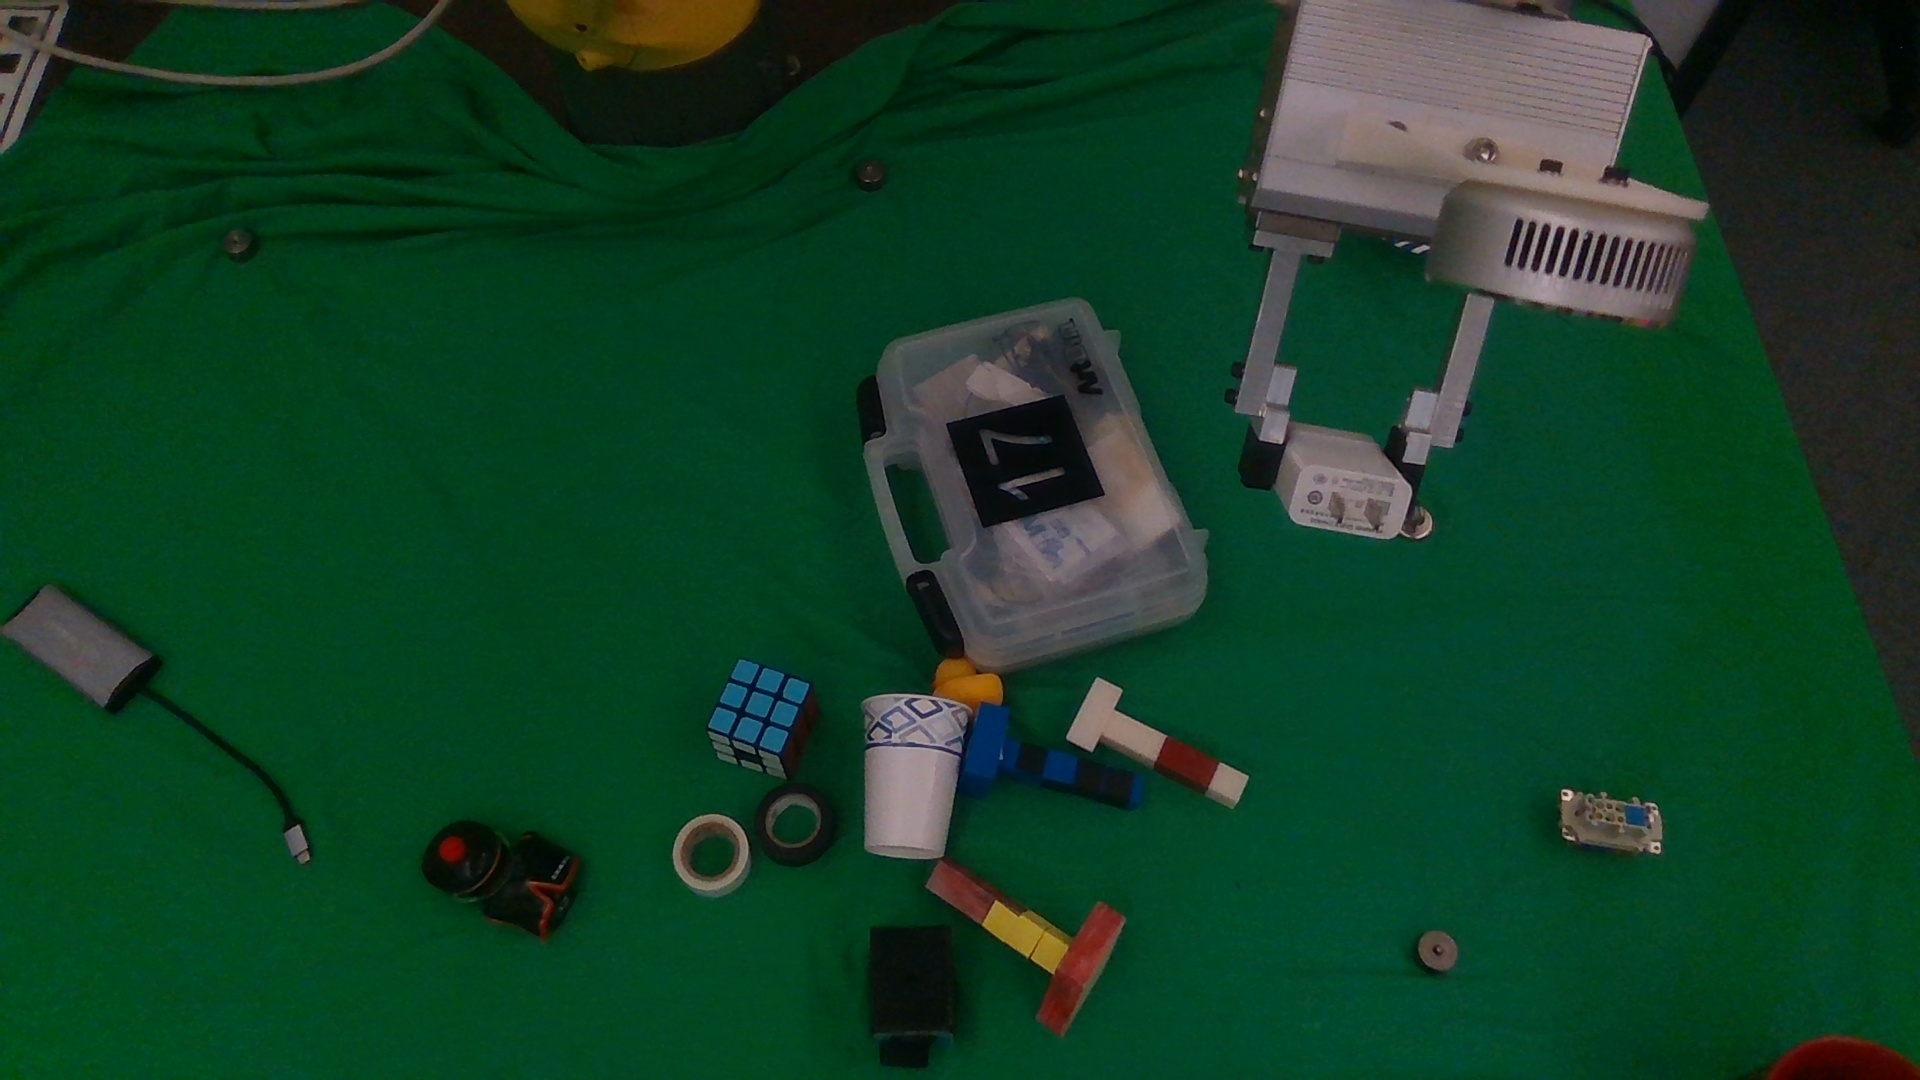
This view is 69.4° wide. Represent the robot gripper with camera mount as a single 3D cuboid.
[{"bbox_3d":[0.150,-0.078,0.438,0.119,0.193,0.158,13,108,-2],"label":"robot gripper with camera mount"}]

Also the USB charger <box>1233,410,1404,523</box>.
[{"bbox_3d":[0.136,-0.027,0.515,0.044,0.076,0.029,13,103,-17],"label":"USB charger"}]
